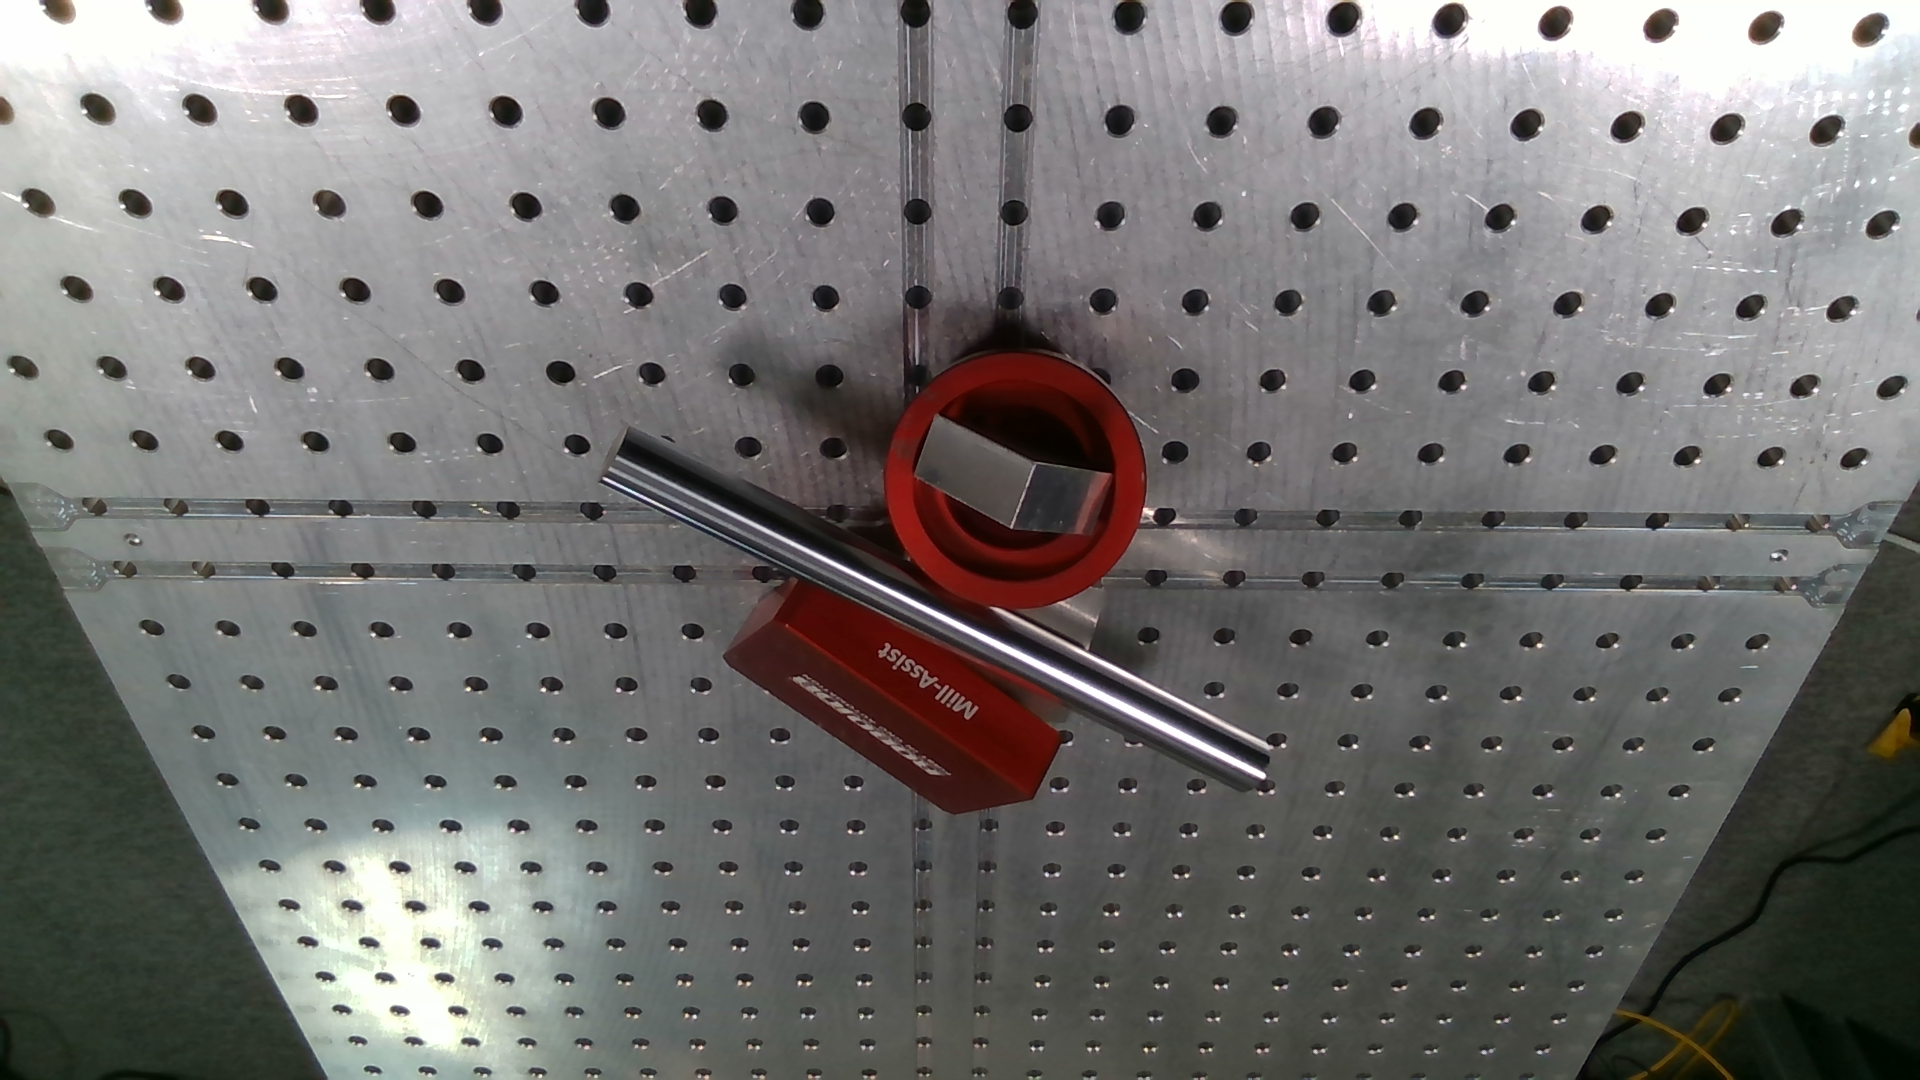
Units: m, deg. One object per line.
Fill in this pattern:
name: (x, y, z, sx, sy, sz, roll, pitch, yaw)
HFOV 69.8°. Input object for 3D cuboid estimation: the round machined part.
round machined part: (0.021, -0.026, 0.532, 0.098, 0.042, 0.098, 1, 105, 3)

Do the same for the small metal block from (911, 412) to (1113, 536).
small metal block: (0.019, -0.024, 0.509, 0.050, 0.050, 0.025, 4, 110, -51)

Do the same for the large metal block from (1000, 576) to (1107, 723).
large metal block: (0.013, 0.029, 0.590, 0.080, 0.050, 0.080, 7, 130, -6)

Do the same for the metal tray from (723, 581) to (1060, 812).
metal tray: (-0.031, 0.067, 0.592, 0.130, 0.030, 0.090, 36, 154, -11)

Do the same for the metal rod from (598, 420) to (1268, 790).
metal rod: (0.001, 0.033, 0.544, 0.300, 0.025, 0.025, 27, 125, -21)
